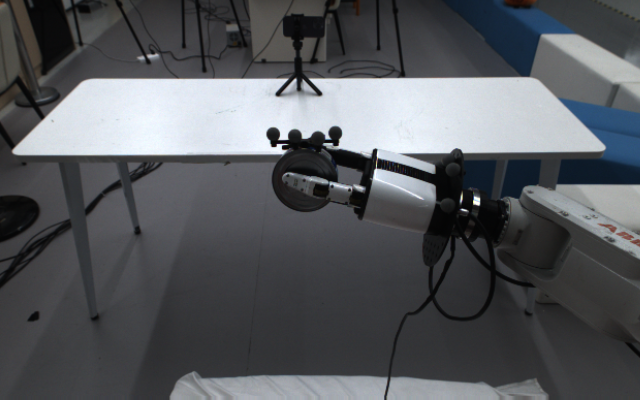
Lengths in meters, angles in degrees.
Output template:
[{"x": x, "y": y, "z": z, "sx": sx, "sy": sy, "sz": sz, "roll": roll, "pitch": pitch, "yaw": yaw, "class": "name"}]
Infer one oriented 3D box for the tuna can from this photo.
[{"x": -0.016, "y": -0.025, "z": 0.633, "sx": 0.085, "sy": 0.085, "sz": 0.034, "roll": 4, "pitch": 18, "yaw": 3, "class": "tuna can"}]
